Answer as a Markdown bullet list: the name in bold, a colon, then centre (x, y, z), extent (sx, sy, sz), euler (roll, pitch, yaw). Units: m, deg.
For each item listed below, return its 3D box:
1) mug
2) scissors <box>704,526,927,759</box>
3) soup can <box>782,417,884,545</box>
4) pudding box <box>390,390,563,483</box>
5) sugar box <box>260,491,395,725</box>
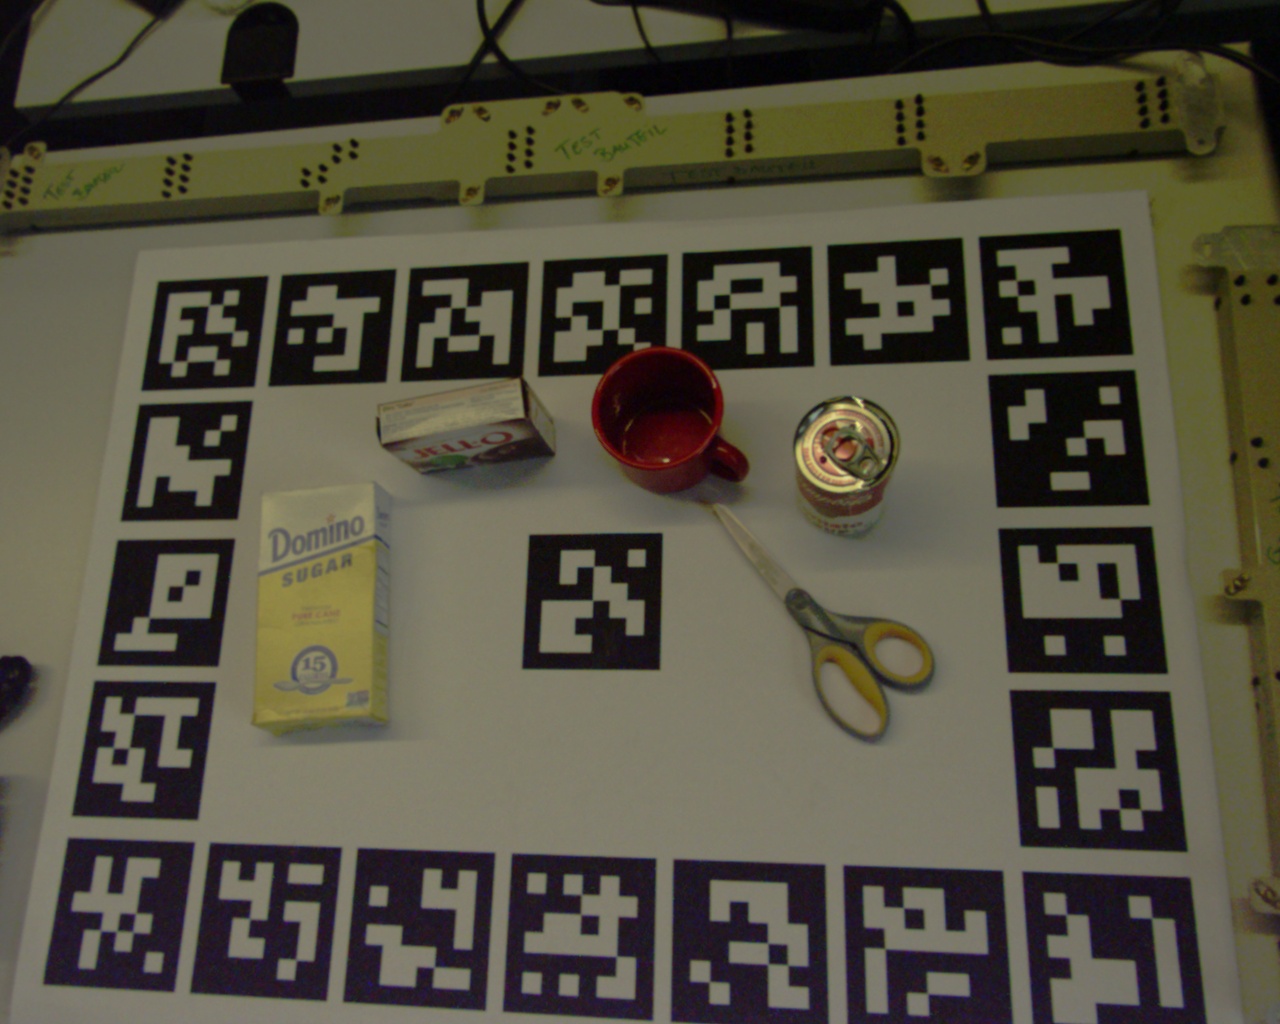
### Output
- **mug**: centre (0.025, -0.057, 0.851), extent (0.093, 0.081, 0.118), euler (-36, 71, 2)
- **scissors**: centre (0.118, 0.082, 0.831), extent (0.088, 0.016, 0.204), euler (-44, 74, 7)
- **soup can**: centre (0.138, -0.020, 0.819), extent (0.068, 0.101, 0.068), euler (-3, 74, 9)
- **pudding box**: centre (-0.123, -0.056, 0.870), extent (0.114, 0.089, 0.039), euler (-10, 81, 7)
- **sugar box**: centre (-0.241, 0.075, 0.887), extent (0.093, 0.045, 0.177), euler (-4, 76, 11)
